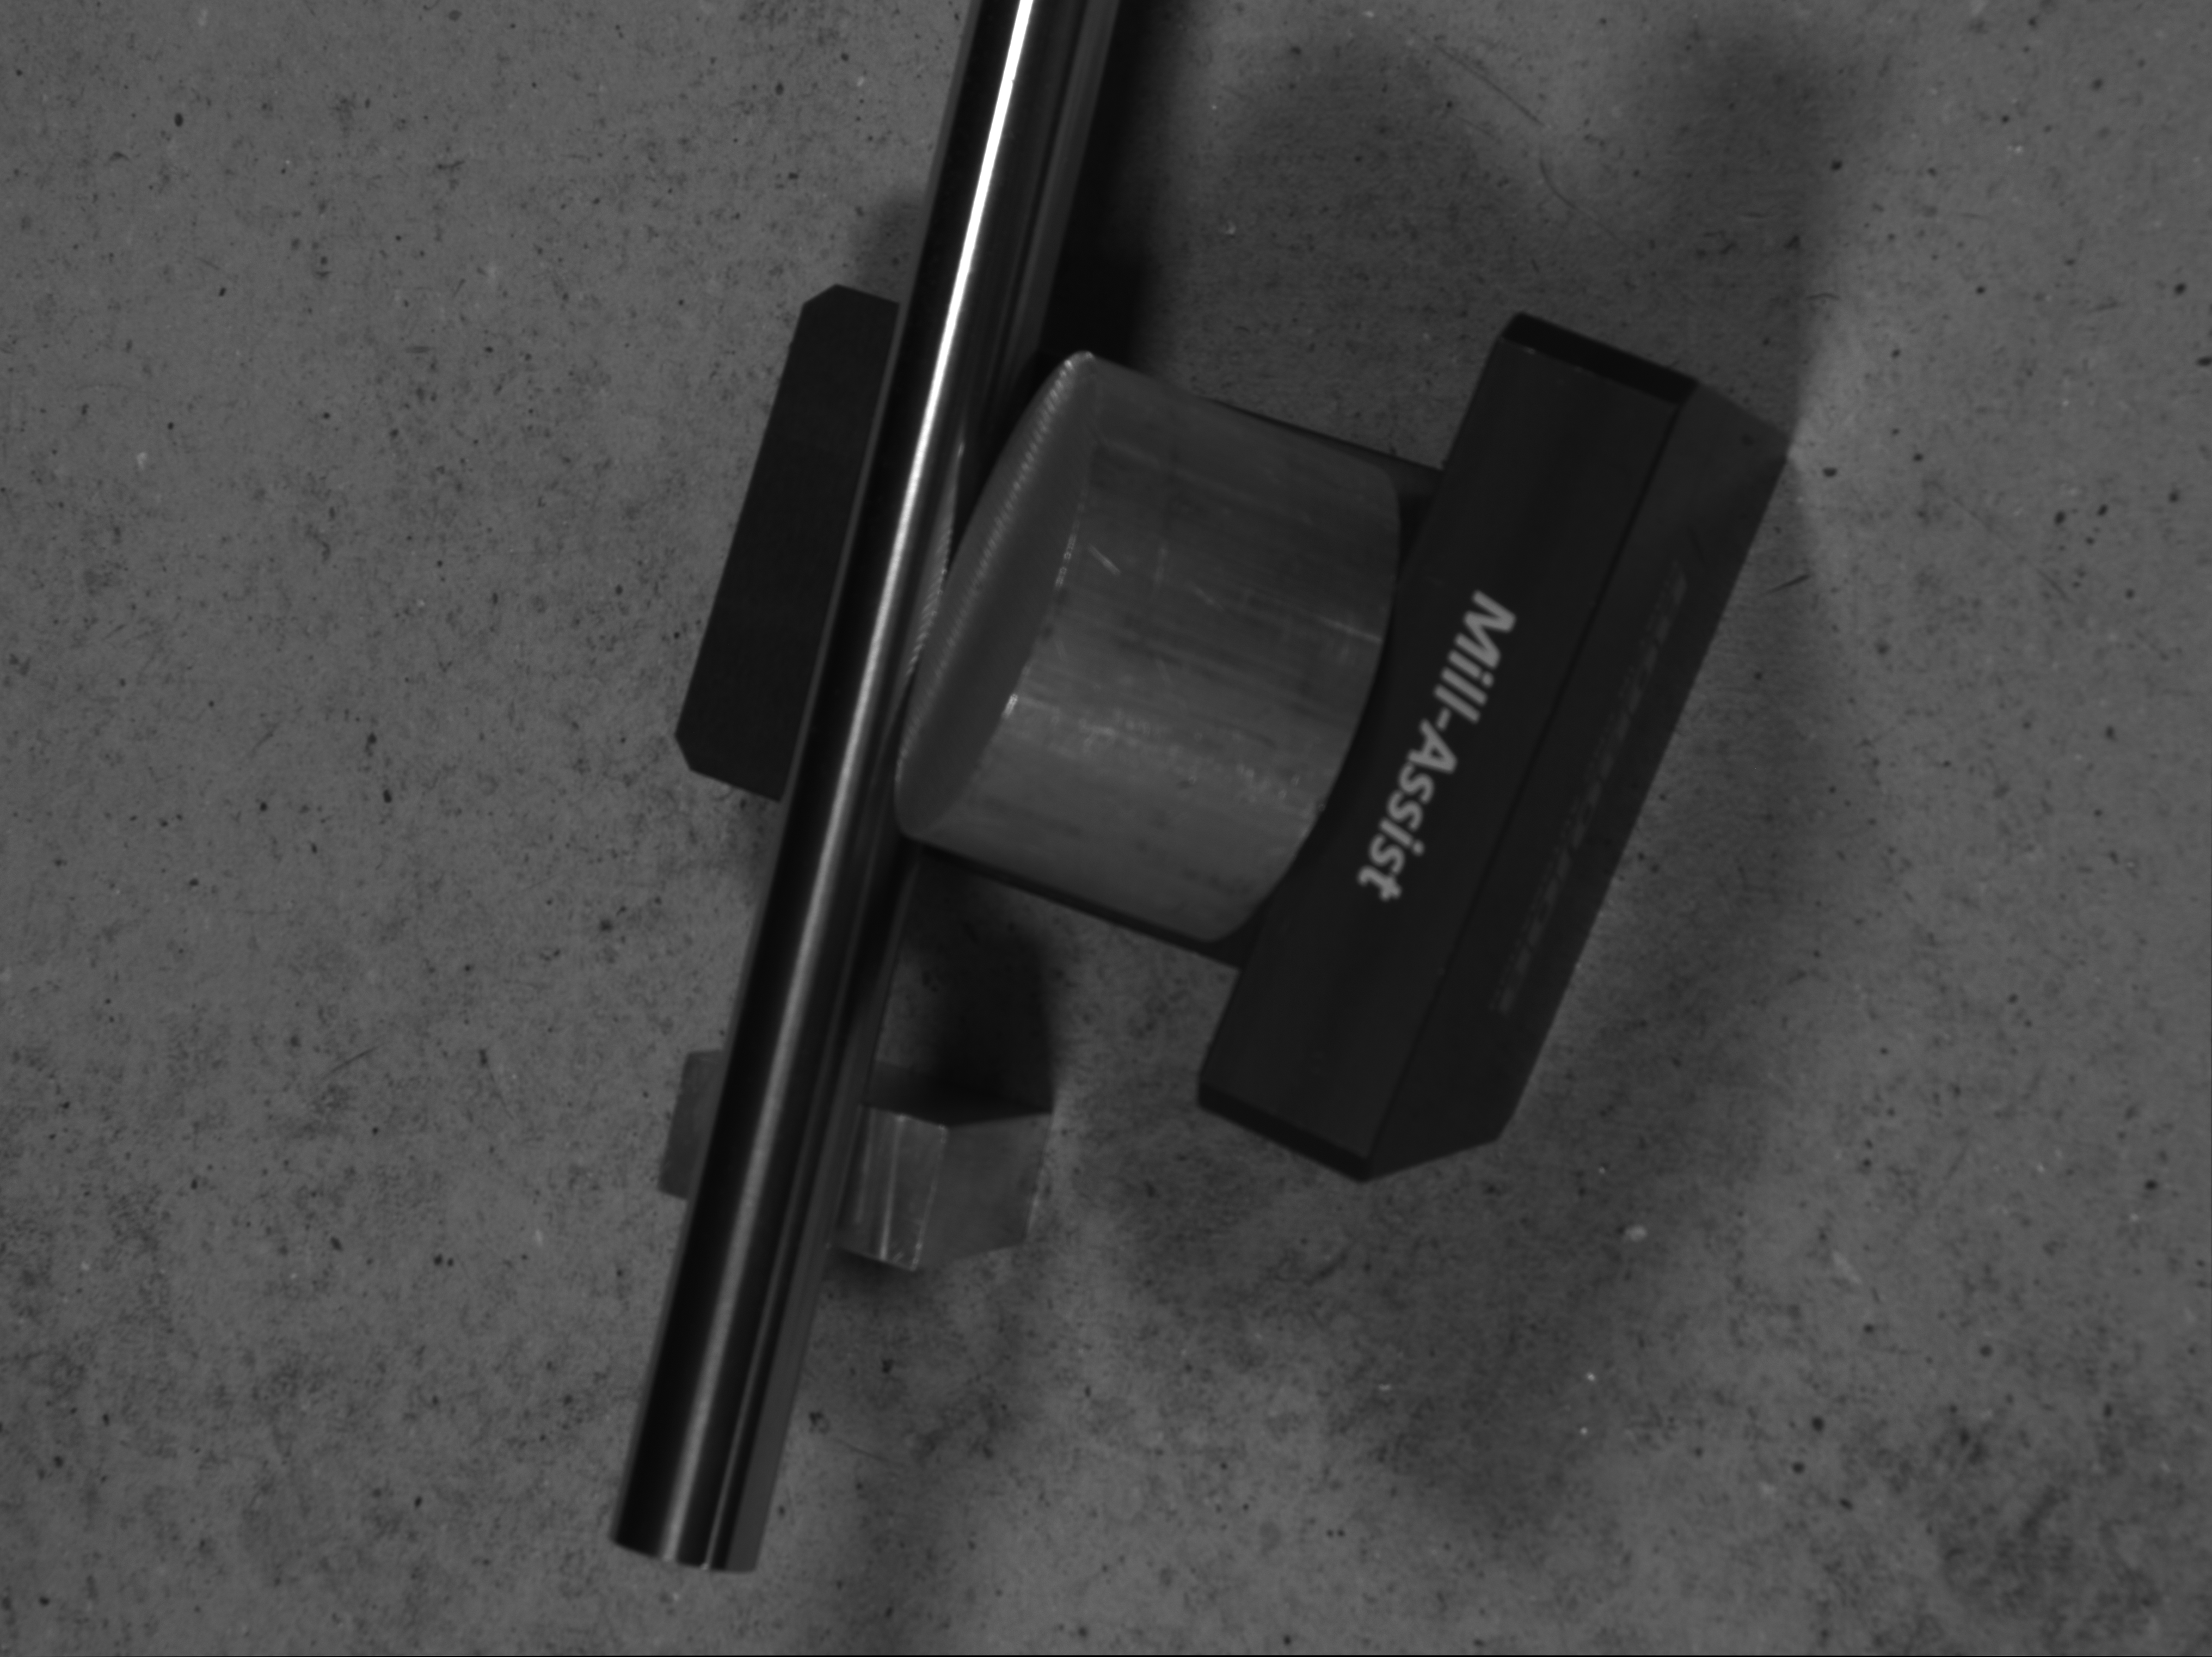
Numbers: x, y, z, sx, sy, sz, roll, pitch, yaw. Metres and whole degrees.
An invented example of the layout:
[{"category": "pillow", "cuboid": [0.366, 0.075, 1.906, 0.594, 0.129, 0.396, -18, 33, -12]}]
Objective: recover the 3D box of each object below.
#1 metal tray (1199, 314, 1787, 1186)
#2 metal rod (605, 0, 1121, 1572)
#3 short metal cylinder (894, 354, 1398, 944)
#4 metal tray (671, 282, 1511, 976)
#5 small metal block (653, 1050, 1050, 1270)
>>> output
[{"category": "metal tray", "cuboid": [0.064, -0.011, 0.587, 0.030, 0.090, 0.130, 24, 98, 18]}, {"category": "metal rod", "cuboid": [-0.037, -0.026, 0.616, 0.025, 0.025, 0.300, 11, 85, 19]}, {"category": "short metal cylinder", "cuboid": [0.005, -0.028, 0.574, 0.050, 0.080, 0.080, 20, 98, -14]}, {"category": "metal tray", "cuboid": [-0.003, -0.035, 0.642, 0.130, 0.030, 0.090, 19, 96, 19]}, {"category": "small metal block", "cuboid": [-0.044, 0.057, 0.647, 0.050, 0.050, 0.025, 14, 94, 19]}]
